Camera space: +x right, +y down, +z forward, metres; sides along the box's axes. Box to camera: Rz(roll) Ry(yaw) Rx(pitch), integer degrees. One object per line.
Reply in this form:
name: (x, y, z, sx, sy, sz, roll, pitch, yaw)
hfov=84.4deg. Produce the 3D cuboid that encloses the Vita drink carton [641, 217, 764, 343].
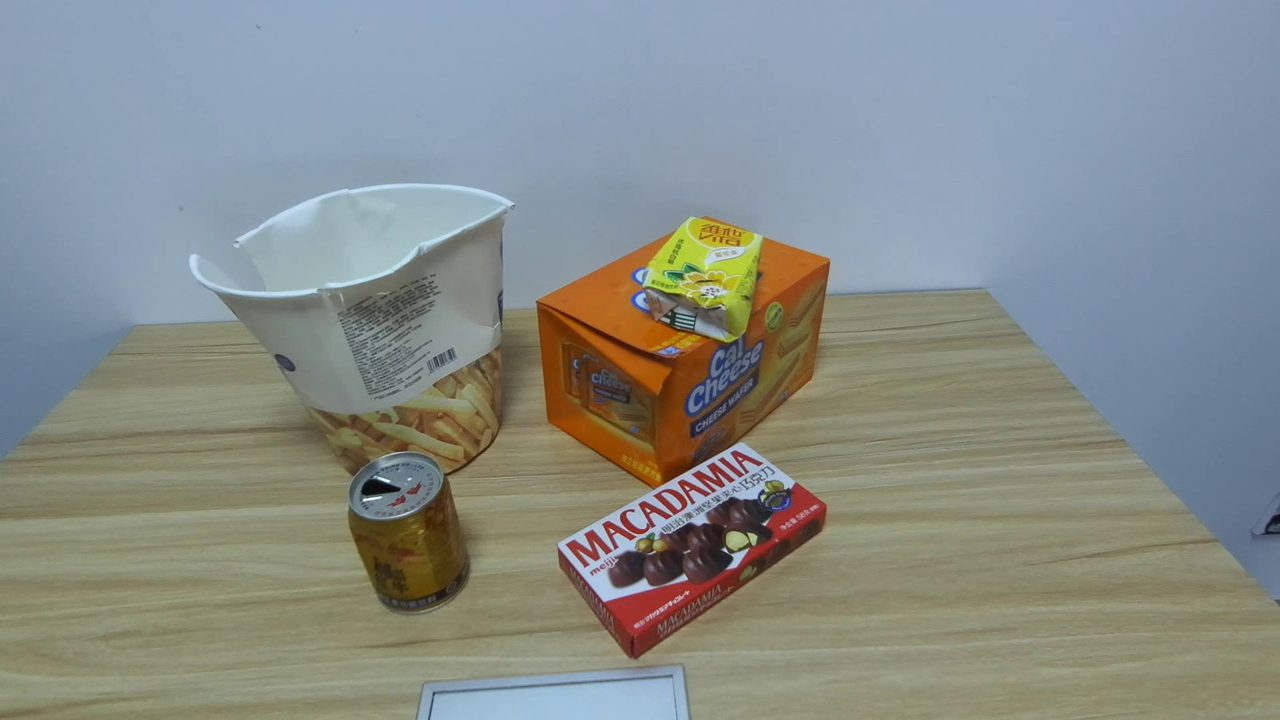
Vita drink carton: (0.051, -0.061, 0.541, 0.087, 0.042, 0.108, 19, 42, 12)

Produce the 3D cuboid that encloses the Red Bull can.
Red Bull can: (-0.153, 0.116, 0.474, 0.068, 0.093, 0.068, -1, 34, 1)

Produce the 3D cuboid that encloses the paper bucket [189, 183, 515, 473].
paper bucket: (-0.203, -0.019, 0.573, 0.145, 0.197, 0.203, 17, 38, 25)

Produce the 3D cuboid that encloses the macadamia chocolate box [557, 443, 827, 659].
macadamia chocolate box: (0.040, 0.127, 0.509, 0.178, 0.027, 0.095, -24, 40, -27)

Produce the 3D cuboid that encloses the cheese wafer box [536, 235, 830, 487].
cheese wafer box: (0.042, -0.018, 0.618, 0.149, 0.137, 0.228, 28, 44, 34)
